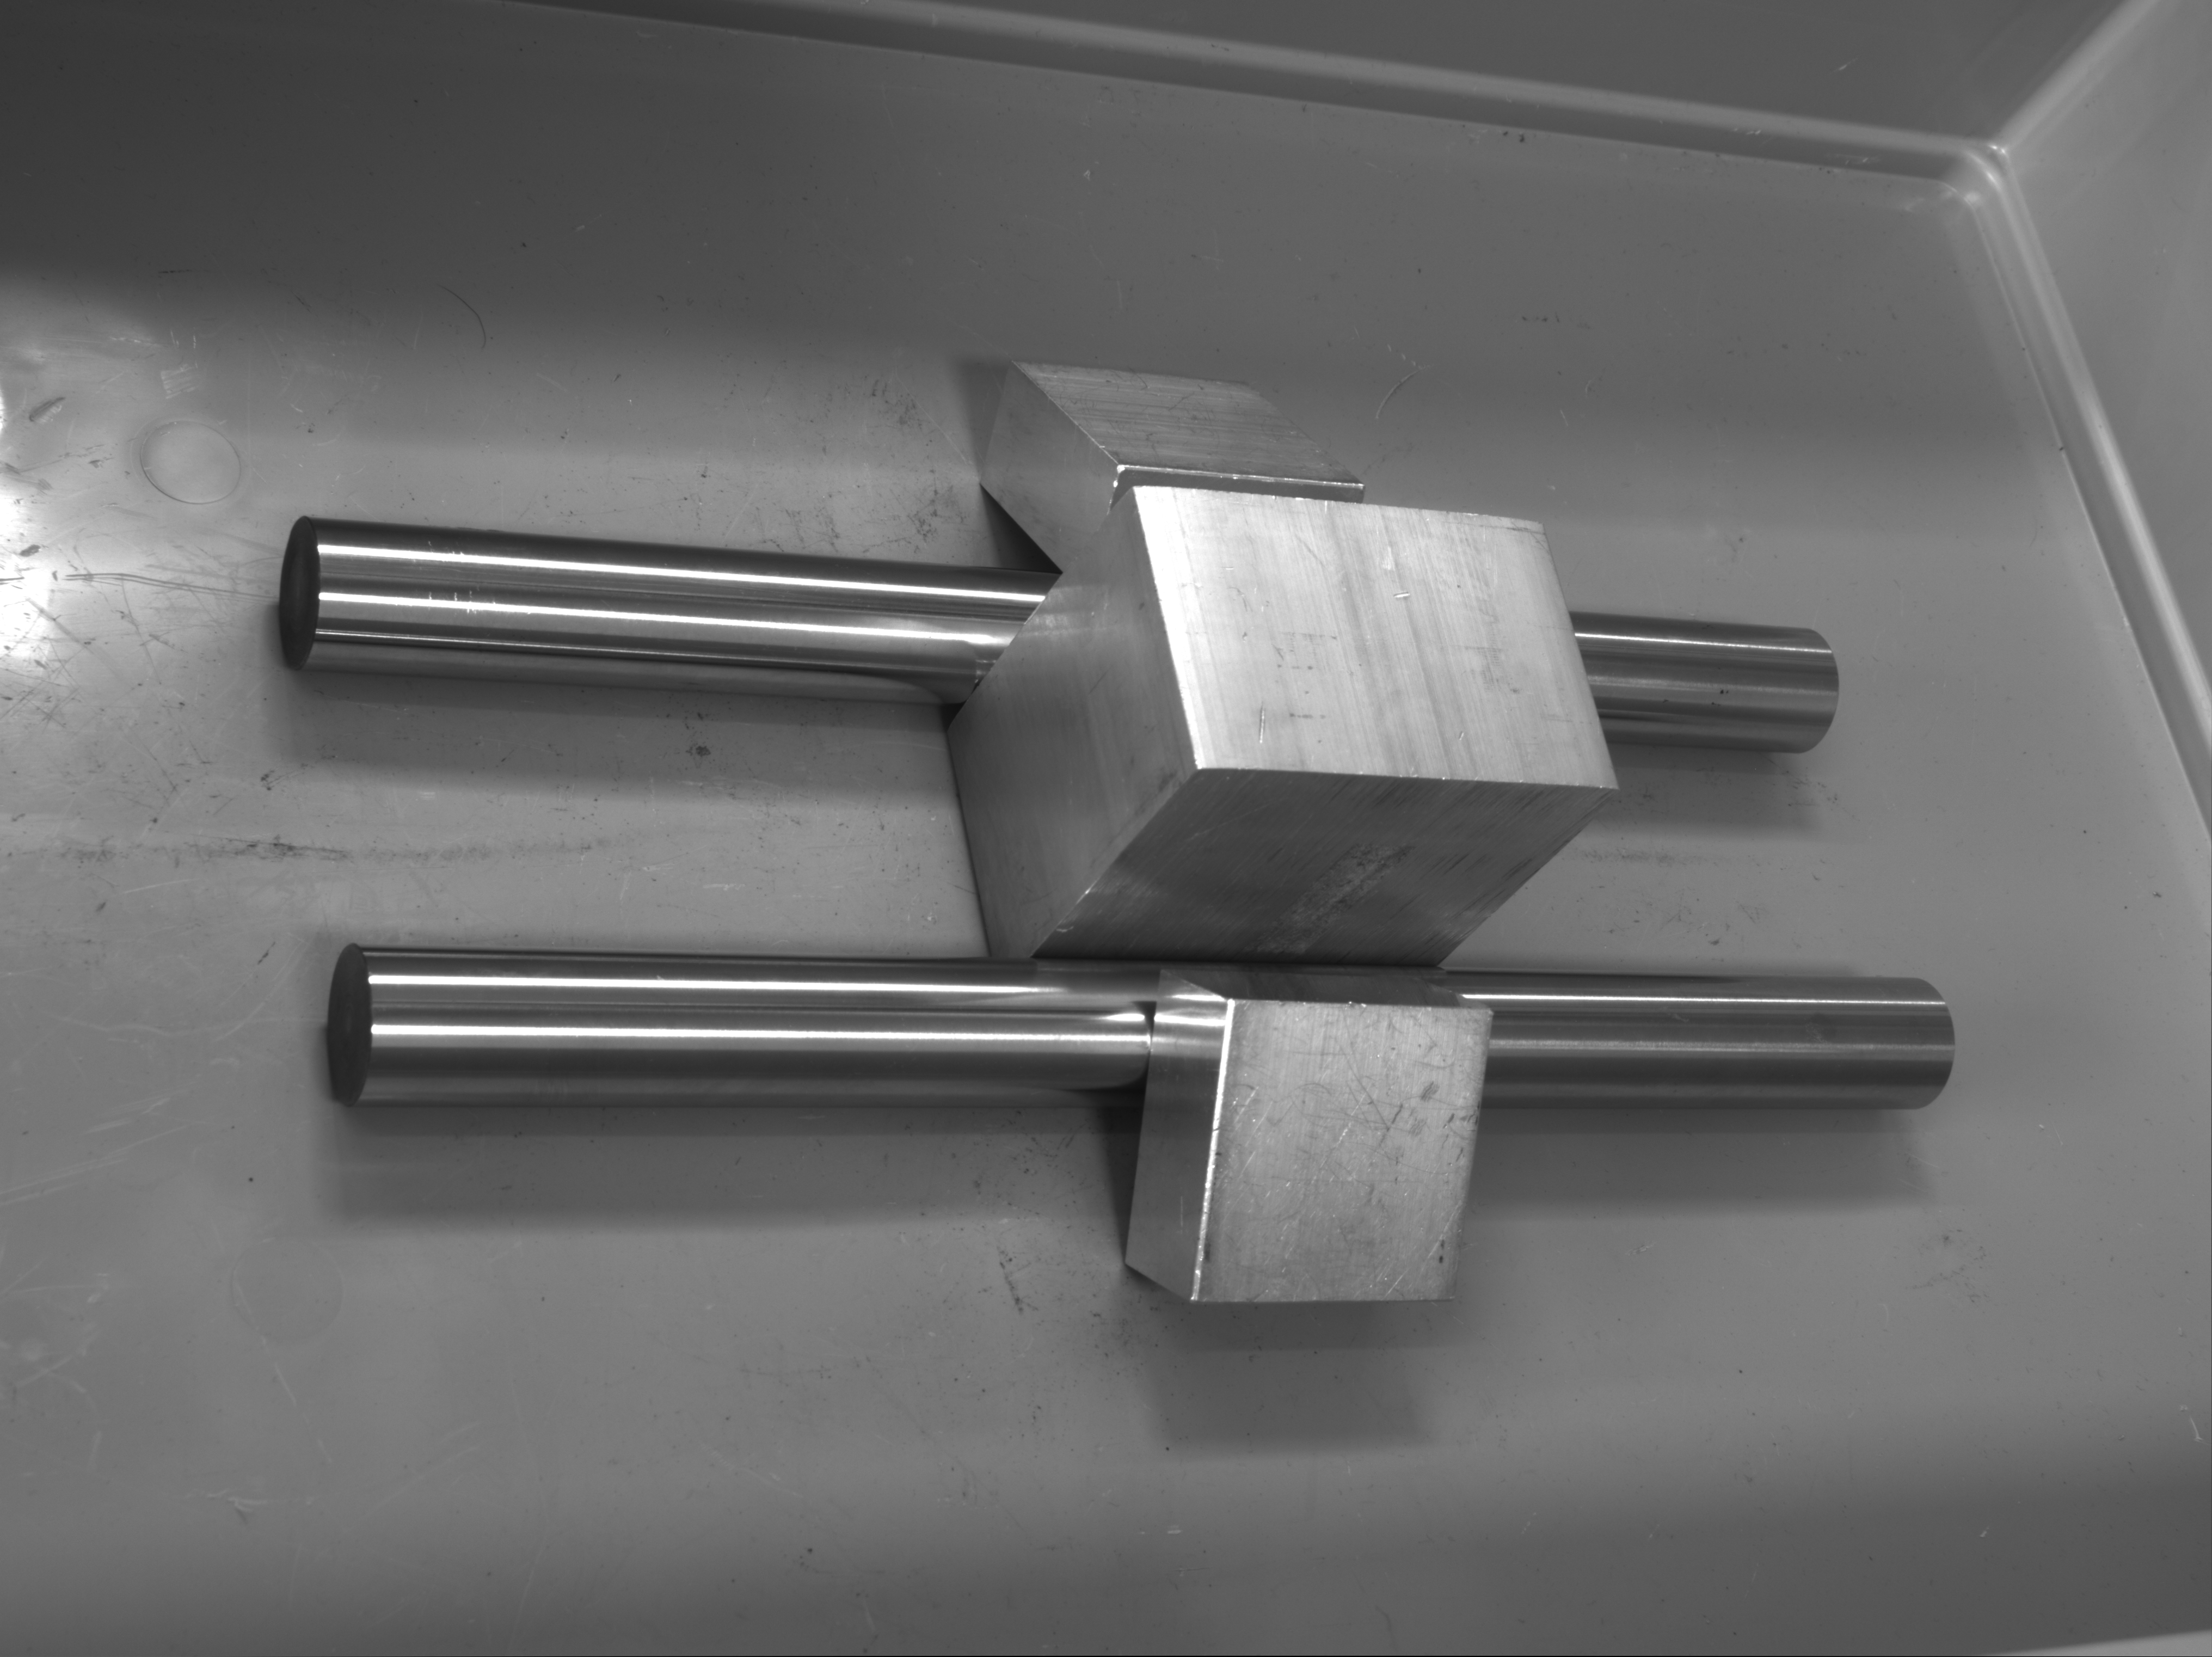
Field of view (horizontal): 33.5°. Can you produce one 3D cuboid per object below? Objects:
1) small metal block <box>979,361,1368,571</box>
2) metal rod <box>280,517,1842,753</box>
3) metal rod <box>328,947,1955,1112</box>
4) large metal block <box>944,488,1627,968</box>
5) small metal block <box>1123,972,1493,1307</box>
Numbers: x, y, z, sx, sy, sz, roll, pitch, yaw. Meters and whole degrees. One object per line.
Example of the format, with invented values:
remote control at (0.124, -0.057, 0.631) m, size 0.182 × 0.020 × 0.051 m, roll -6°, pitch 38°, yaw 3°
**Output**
small metal block at (0.012, -0.062, 0.668) m, size 0.050 × 0.025 × 0.050 m, roll 1°, pitch 27°, yaw -28°
metal rod at (0.004, -0.032, 0.659) m, size 0.301 × 0.025 × 0.025 m, roll 2°, pitch 61°, yaw -27°
metal rod at (0.019, 0.036, 0.627) m, size 0.301 × 0.025 × 0.025 m, roll 2°, pitch 61°, yaw -27°
large metal block at (0.028, -0.012, 0.624) m, size 0.080 × 0.080 × 0.050 m, roll 2°, pitch 61°, yaw -27°
small metal block at (0.033, 0.051, 0.609) m, size 0.050 × 0.025 × 0.050 m, roll 3°, pitch 98°, yaw -27°
